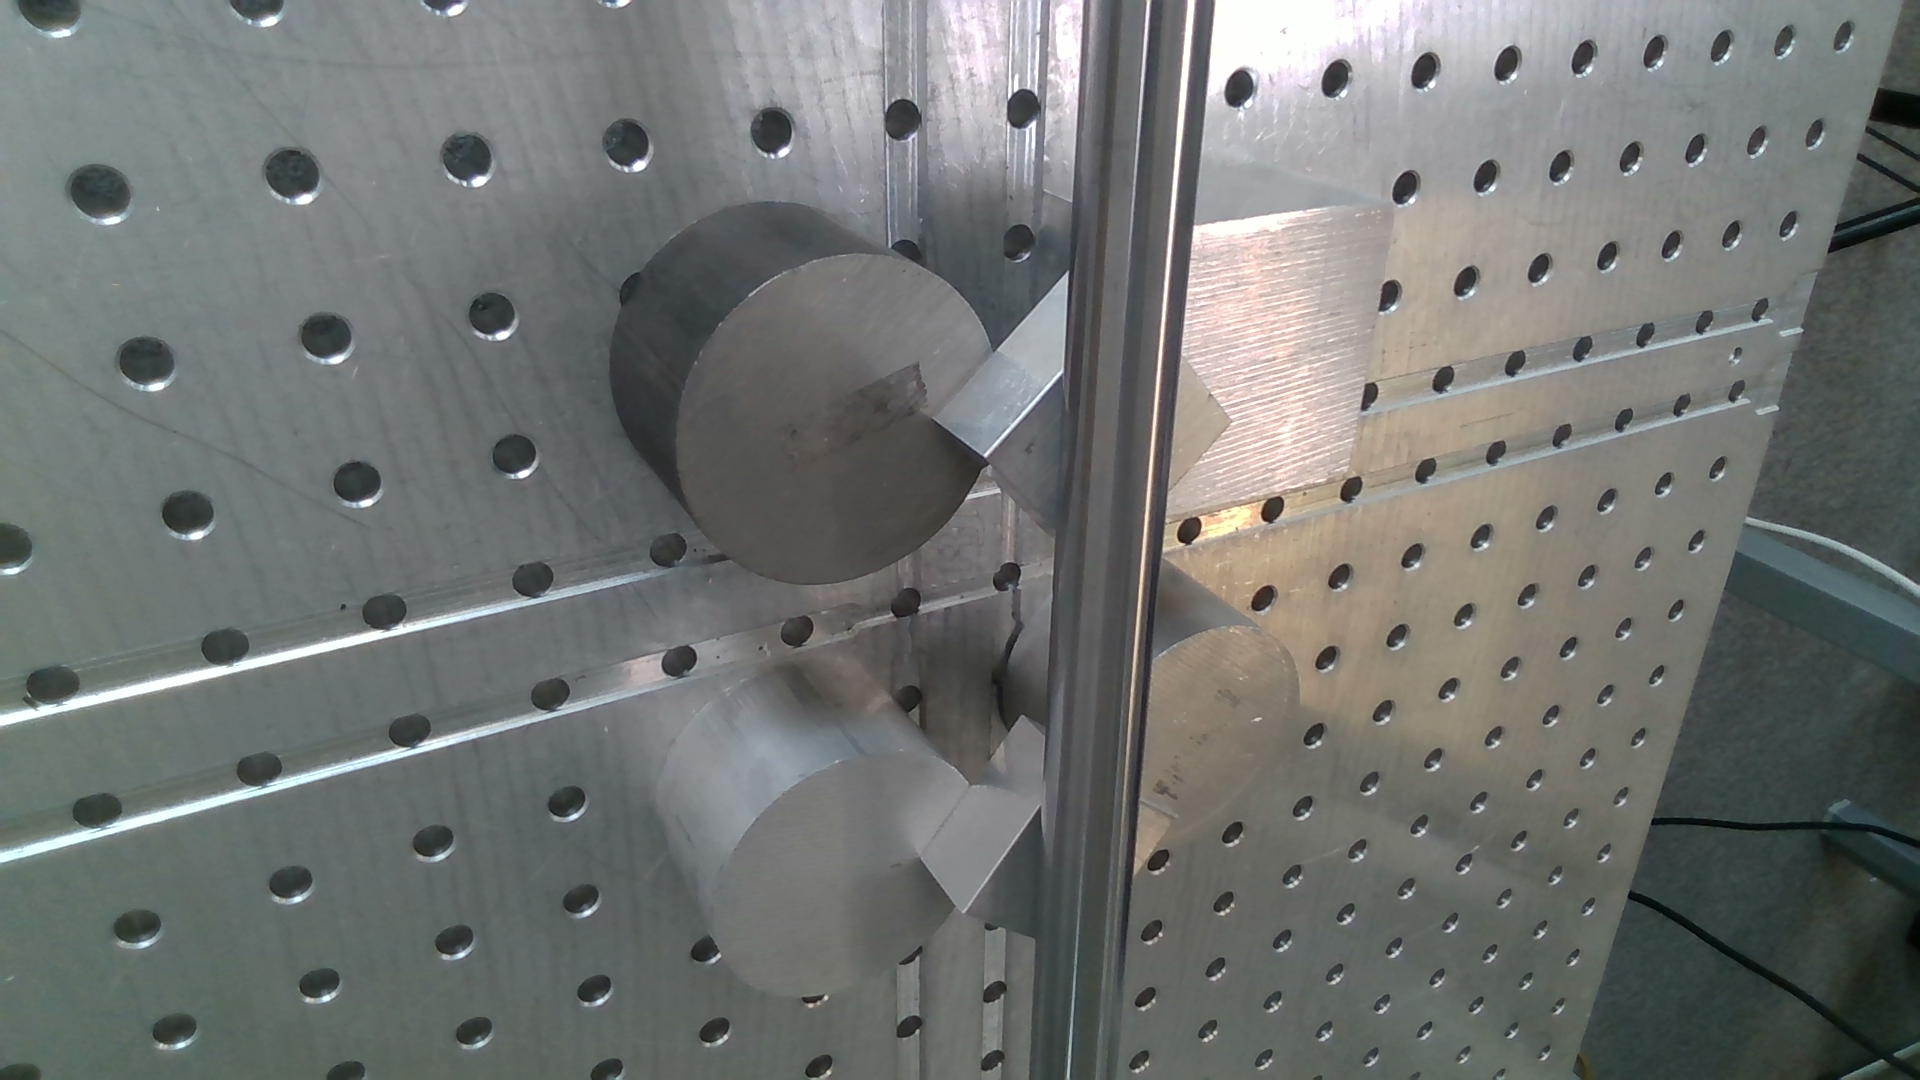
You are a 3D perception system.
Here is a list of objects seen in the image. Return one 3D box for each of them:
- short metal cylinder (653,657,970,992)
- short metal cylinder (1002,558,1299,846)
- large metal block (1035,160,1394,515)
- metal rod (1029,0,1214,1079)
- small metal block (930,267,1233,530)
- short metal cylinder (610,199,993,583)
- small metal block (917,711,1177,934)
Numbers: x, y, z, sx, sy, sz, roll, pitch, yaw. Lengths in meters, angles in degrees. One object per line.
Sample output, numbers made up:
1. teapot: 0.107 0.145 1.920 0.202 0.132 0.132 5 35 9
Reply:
1. short metal cylinder: -0.041 0.081 0.395 0.080 0.050 0.080 -14 122 -25
2. short metal cylinder: 0.061 0.051 0.442 0.080 0.050 0.080 -14 122 -25
3. large metal block: 0.068 -0.058 0.386 0.080 0.050 0.080 -13 121 -25
4. metal rod: 0.034 0.028 0.332 0.025 0.025 0.301 -14 121 -25
5. small metal block: 0.030 -0.030 0.331 0.050 0.025 0.050 -48 129 -1
6. short metal cylinder: -0.038 -0.036 0.333 0.080 0.050 0.080 -14 122 -25
7. small metal block: 0.025 0.083 0.389 0.050 0.025 0.050 31 97 -39
